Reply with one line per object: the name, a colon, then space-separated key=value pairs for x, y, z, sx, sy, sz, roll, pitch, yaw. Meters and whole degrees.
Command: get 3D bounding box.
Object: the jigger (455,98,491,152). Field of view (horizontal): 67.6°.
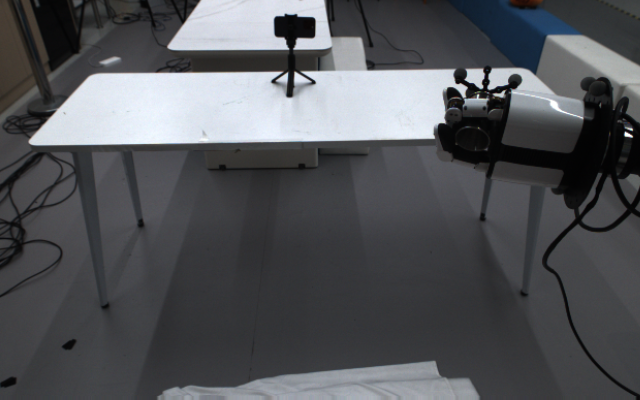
jigger: x=0.204 y=-0.102 z=0.623 sx=0.043 sy=0.043 sz=0.071 roll=13 pitch=58 yaw=15
